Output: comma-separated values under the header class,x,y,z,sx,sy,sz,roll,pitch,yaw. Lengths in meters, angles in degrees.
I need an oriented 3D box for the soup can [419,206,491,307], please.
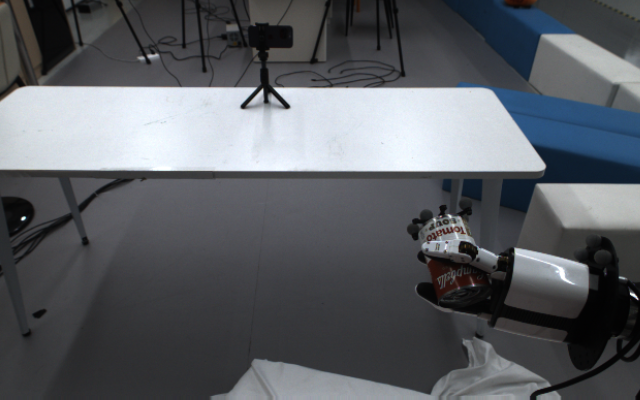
class,x,y,z,sx,sy,sz,roll,pitch,yaw
soup can,0.172,0.077,0.618,0.067,0.067,0.101,-5,57,-10
